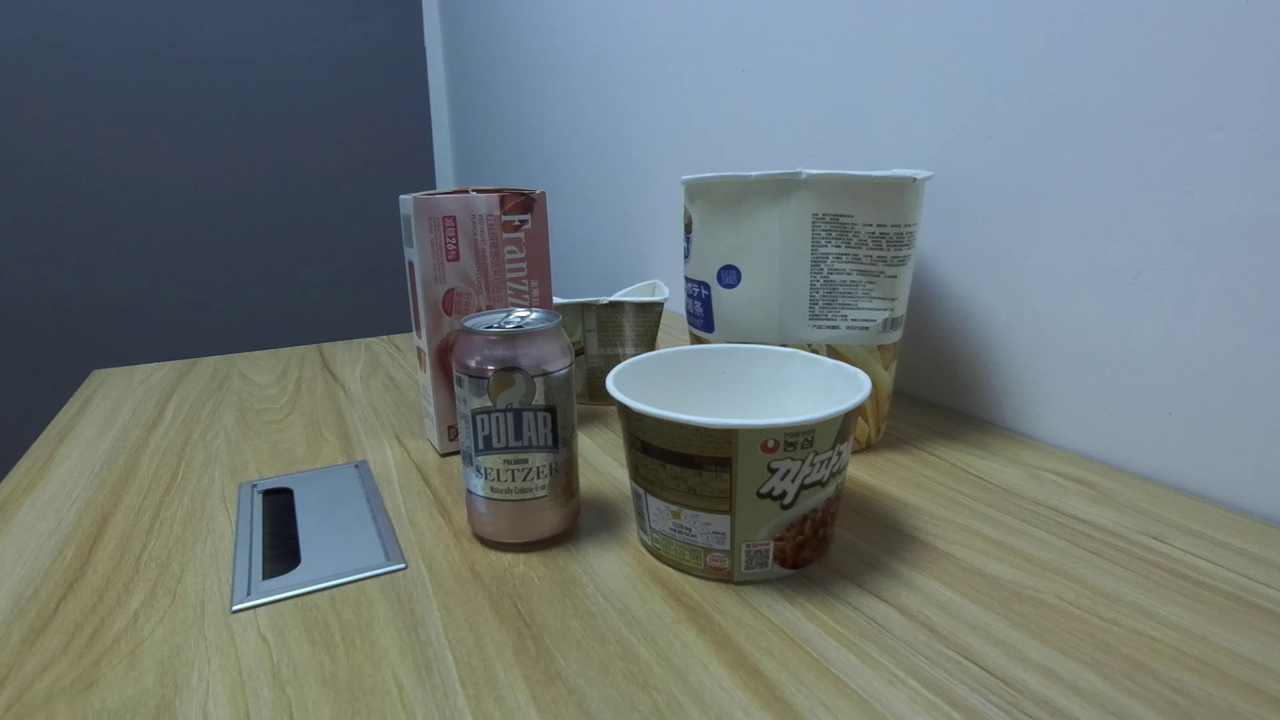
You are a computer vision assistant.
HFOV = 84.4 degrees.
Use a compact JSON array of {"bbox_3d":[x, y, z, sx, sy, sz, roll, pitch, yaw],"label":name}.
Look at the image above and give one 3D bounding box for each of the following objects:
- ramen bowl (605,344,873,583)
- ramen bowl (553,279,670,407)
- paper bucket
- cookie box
[{"bbox_3d":[0.052,0.053,0.390,0.140,0.095,0.140,-1,15,1],"label":"ramen bowl"},{"bbox_3d":[-0.038,-0.020,0.650,0.128,0.093,0.111,-2,15,-7],"label":"ramen bowl"},{"bbox_3d":[0.121,-0.048,0.549,0.169,0.202,0.163,4,16,10],"label":"paper bucket"},{"bbox_3d":[-0.113,-0.034,0.531,0.105,0.187,0.048,-11,18,-28],"label":"cookie box"}]
